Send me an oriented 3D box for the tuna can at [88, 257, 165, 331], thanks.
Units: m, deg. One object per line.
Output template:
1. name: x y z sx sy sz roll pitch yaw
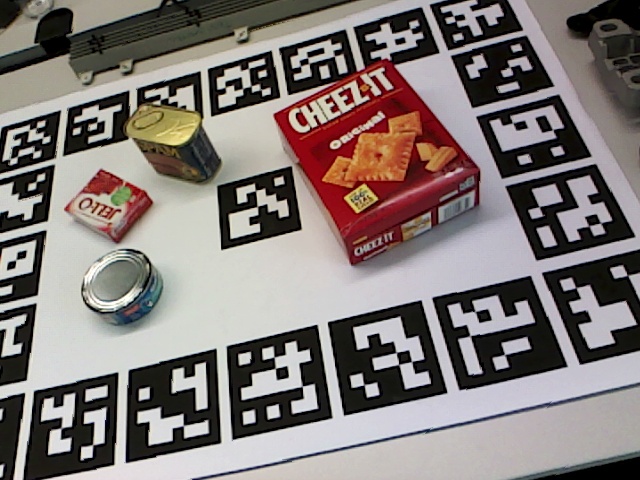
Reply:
1. tuna can: -0.231 0.065 0.743 0.086 0.033 0.086 -7 59 11

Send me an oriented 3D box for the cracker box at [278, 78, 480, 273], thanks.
1. cracker box: 0.064 -0.086 0.751 0.164 0.071 0.215 -27 52 -5

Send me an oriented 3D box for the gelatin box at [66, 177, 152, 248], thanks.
1. gelatin box: -0.283 -0.039 0.833 0.090 0.030 0.073 24 63 25

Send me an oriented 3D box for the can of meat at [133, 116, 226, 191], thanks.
1. can of meat: -0.186 -0.114 0.834 0.102 0.083 0.058 11 60 23
